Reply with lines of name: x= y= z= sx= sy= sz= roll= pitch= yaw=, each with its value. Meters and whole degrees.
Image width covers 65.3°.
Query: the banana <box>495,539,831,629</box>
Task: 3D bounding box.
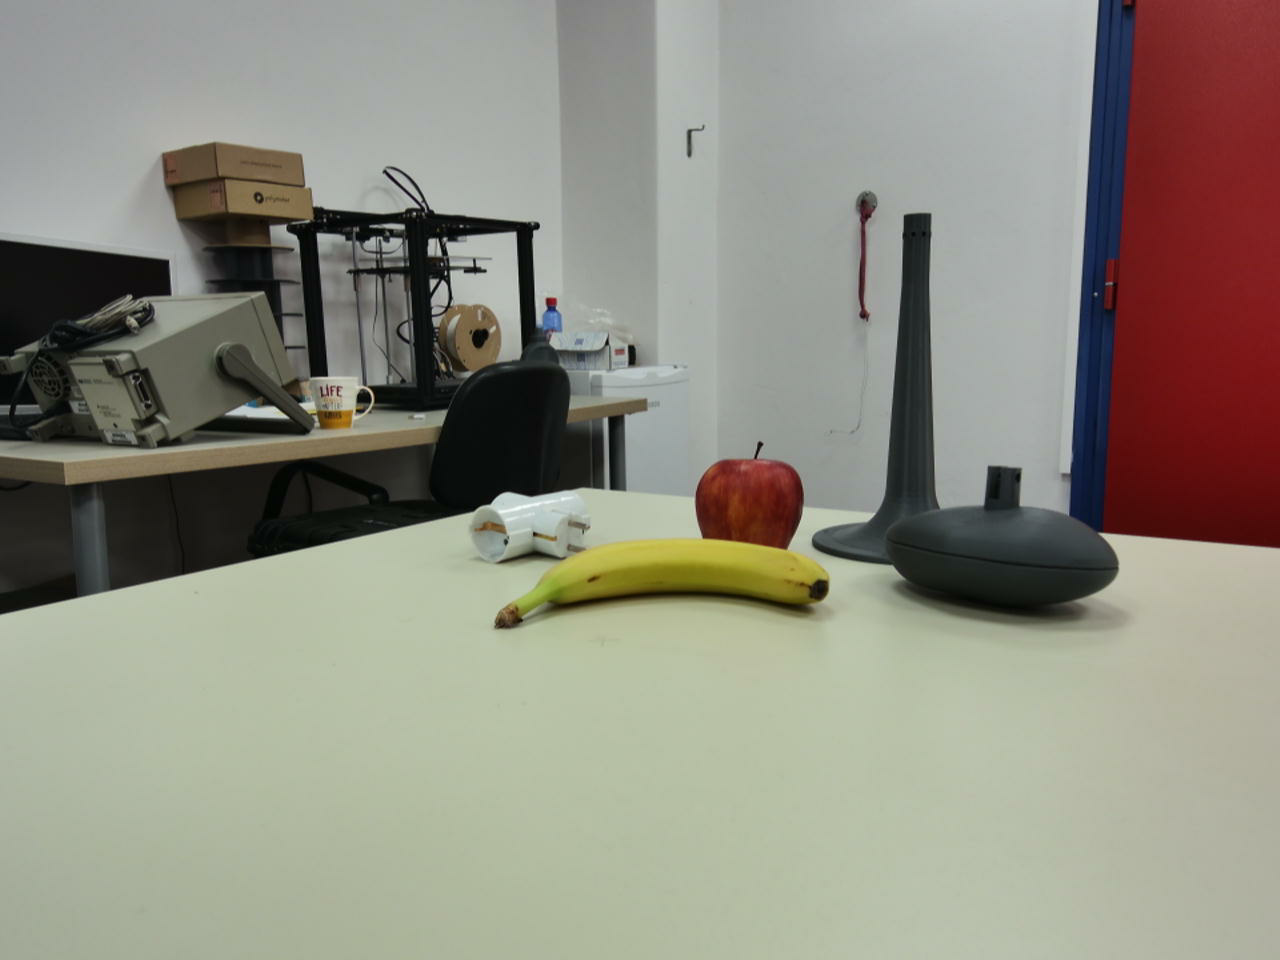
banana: x=0.013 y=0.061 z=0.624 sx=0.196 sy=0.041 sz=0.094 roll=0 pitch=6 yaw=-1
